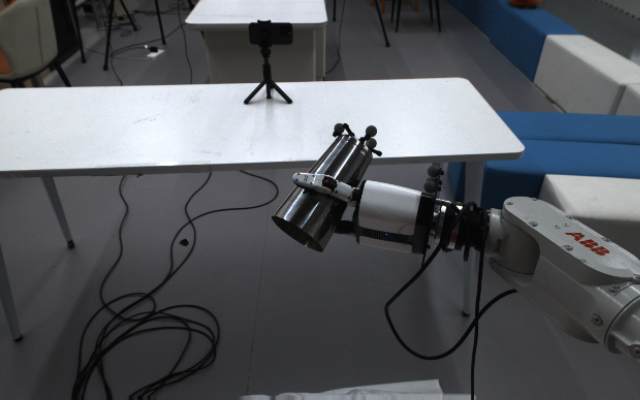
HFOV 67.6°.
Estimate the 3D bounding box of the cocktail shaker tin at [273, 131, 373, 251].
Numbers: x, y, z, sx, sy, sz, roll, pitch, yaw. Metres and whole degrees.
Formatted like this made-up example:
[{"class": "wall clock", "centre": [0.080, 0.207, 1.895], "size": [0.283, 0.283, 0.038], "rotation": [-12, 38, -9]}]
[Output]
[{"class": "cocktail shaker tin", "centre": [0.010, -0.021, 0.745], "size": [0.093, 0.093, 0.170], "rotation": [24, 70, 28]}]
